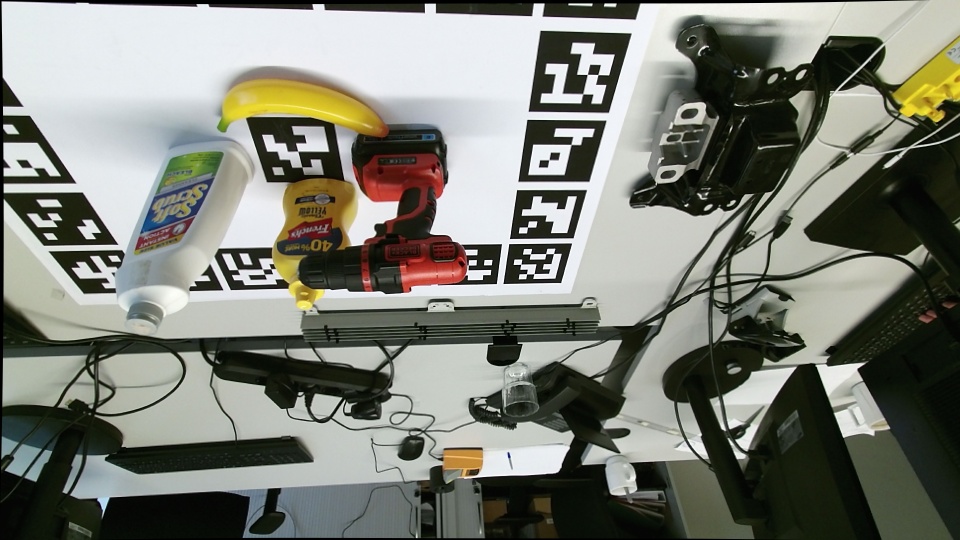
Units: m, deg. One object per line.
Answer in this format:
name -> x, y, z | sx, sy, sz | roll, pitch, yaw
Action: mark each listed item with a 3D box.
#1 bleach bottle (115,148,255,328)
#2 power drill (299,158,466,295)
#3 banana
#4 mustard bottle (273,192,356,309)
bleach bottle -> -0.342, -0.041, 0.619 | 0.103, 0.249, 0.068 | -7, 137, 1
power drill -> -0.110, -0.050, 0.638 | 0.185, 0.186, 0.057 | -2, 144, -1
banana -> -0.220, -0.171, 0.630 | 0.198, 0.038, 0.074 | 0, 133, -8
mustard bottle -> -0.216, -0.020, 0.686 | 0.096, 0.190, 0.058 | 0, 138, -4
